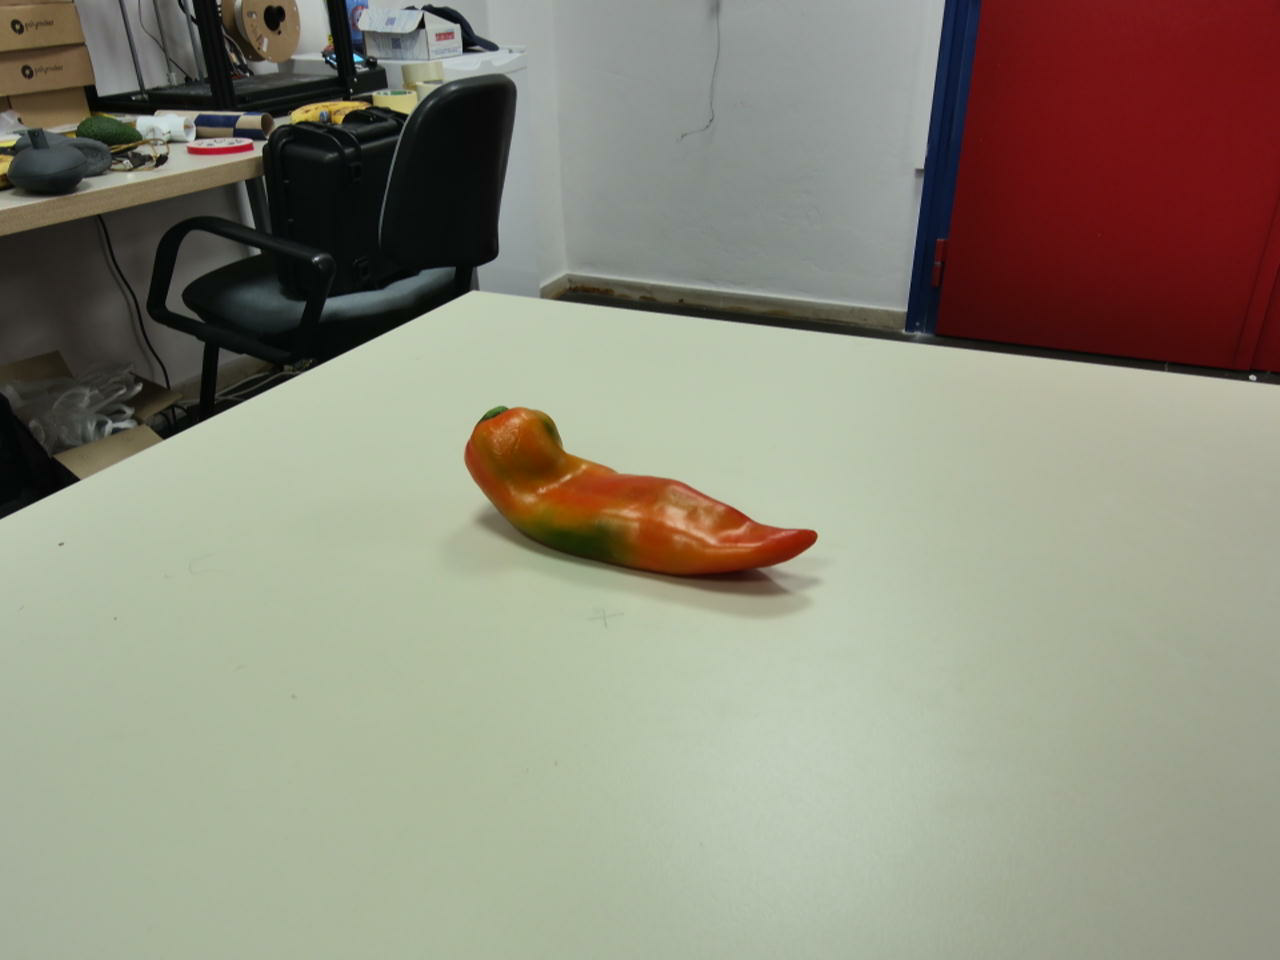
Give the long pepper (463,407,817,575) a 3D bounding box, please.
[{"bbox_3d":[-0.006,0.006,0.520,0.199,0.065,0.066,13,28,27],"label":"long pepper"}]
